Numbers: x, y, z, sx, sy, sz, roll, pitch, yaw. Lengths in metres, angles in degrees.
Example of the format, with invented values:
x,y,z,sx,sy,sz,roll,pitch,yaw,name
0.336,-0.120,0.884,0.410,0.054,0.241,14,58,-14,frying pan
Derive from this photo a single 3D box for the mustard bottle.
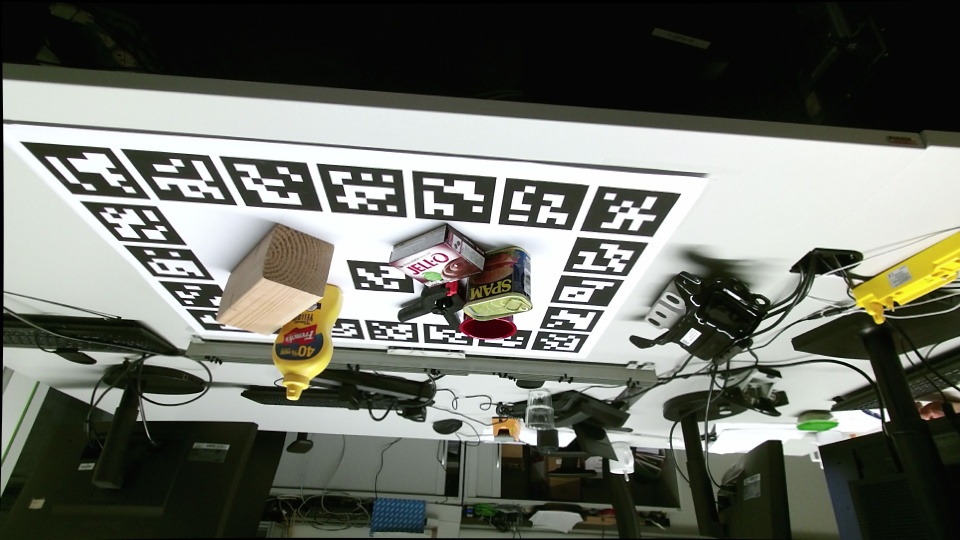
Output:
x,y,z,sx,sy,sz,roll,pitch,yaw,name
-0.292,0.129,0.889,0.096,0.190,0.058,1,147,1,mustard bottle

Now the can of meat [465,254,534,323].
x,y,z,sx,sy,sz,roll,pitch,yaw,name
0.029,0.030,0.802,0.102,0.083,0.058,-13,144,23,can of meat

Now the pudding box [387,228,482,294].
x,y,z,sx,sy,sz,roll,pitch,yaw,name
-0.067,-0.011,0.794,0.114,0.038,0.090,-18,142,32,pudding box

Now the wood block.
x,y,z,sx,sy,sz,roll,pitch,yaw,name
-0.323,0.025,0.829,0.090,0.090,0.206,25,144,-34,wood block

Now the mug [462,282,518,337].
x,y,z,sx,sy,sz,roll,pitch,yaw,name
0.011,0.062,0.908,0.094,0.081,0.117,17,144,-21,mug

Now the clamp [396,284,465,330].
x,y,z,sx,sy,sz,roll,pitch,yaw,name
-0.075,0.074,0.941,0.122,0.036,0.165,16,144,-18,clamp
